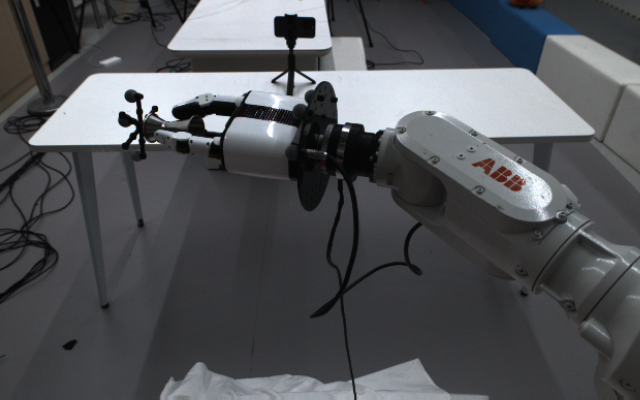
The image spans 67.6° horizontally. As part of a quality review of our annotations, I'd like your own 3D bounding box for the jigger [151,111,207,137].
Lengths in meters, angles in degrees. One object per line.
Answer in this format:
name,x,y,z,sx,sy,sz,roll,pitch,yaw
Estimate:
jigger,-0.191,-0.096,0.643,0.071,0.043,0.043,6,35,13
